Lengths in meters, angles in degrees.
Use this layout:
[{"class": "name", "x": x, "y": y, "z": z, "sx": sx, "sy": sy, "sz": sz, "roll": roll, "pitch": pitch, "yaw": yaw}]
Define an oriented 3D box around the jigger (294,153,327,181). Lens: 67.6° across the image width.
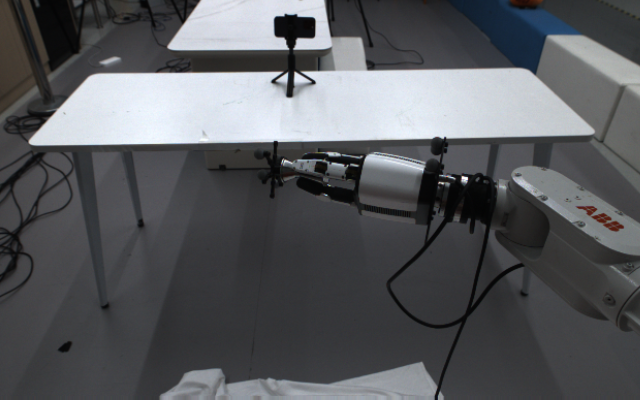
[{"class": "jigger", "x": -0.015, "y": -0.049, "z": 0.737, "sx": 0.071, "sy": 0.043, "sz": 0.043, "roll": 3, "pitch": 34, "yaw": 16}]
